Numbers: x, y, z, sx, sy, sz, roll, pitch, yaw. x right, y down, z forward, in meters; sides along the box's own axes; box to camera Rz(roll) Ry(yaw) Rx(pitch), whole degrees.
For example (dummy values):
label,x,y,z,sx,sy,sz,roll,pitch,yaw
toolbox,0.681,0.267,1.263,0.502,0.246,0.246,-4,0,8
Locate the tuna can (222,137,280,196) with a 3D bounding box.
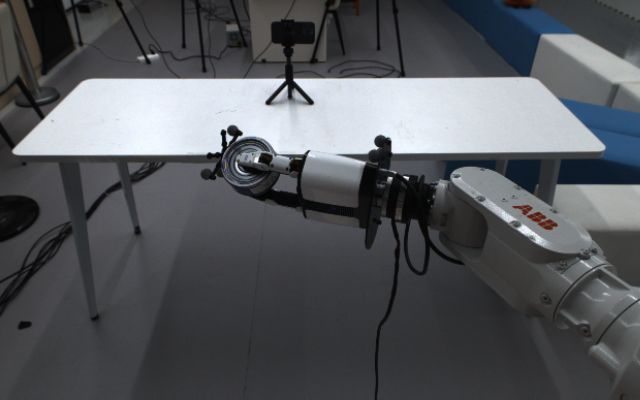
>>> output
label,x,y,z,sx,sy,sz,roll,pitch,yaw
tuna can,-0.103,-0.052,0.726,0.085,0.034,0.085,-3,70,9
